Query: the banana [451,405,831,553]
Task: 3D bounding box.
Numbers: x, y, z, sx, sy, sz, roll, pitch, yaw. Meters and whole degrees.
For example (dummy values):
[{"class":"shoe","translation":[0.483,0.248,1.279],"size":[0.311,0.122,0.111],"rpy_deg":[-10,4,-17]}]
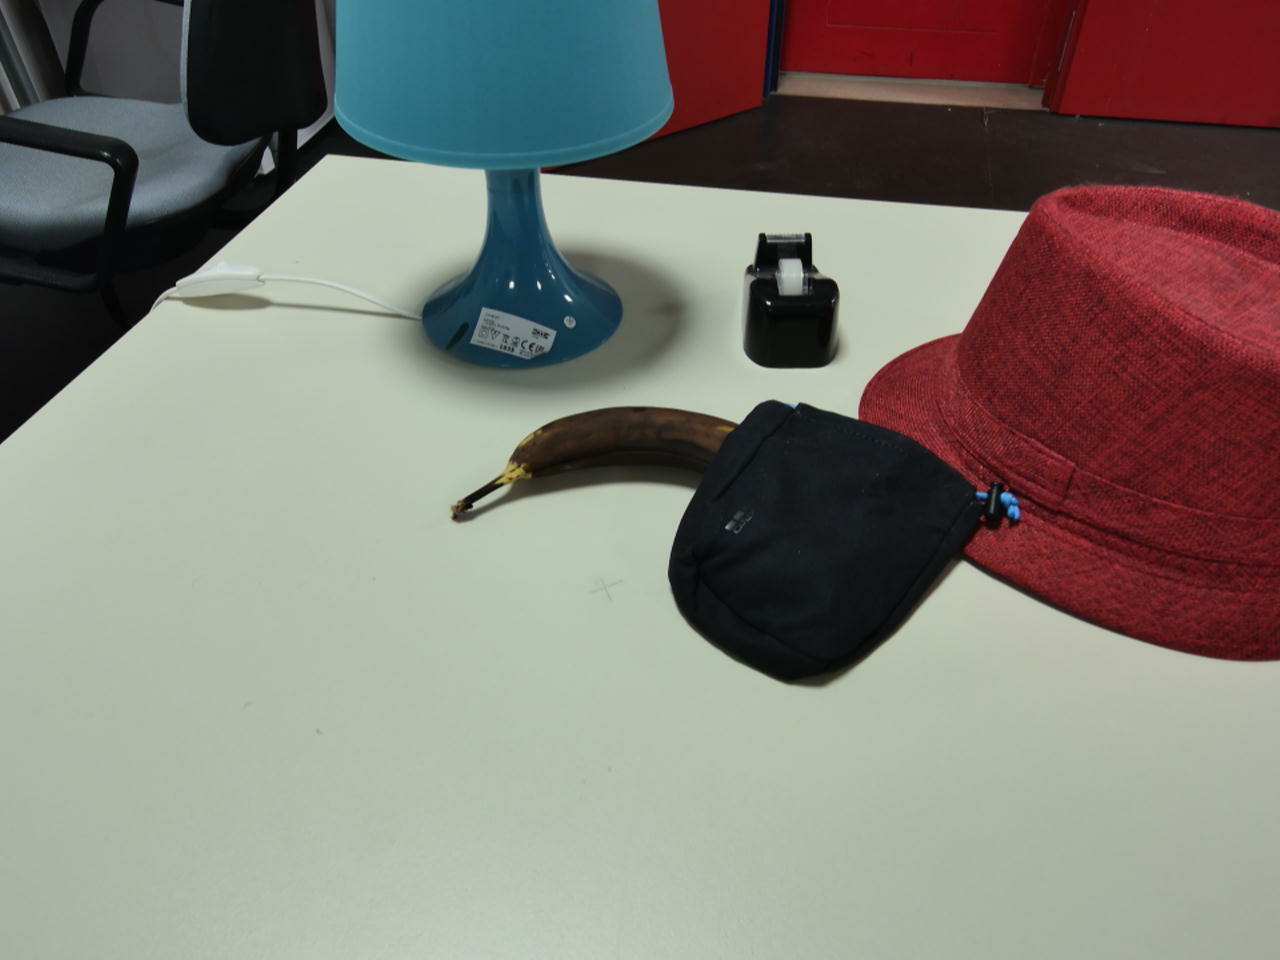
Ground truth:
[{"class":"banana","translation":[0.004,-0.007,0.514],"size":[0.188,0.034,0.091],"rpy_deg":[8,40,11]}]
